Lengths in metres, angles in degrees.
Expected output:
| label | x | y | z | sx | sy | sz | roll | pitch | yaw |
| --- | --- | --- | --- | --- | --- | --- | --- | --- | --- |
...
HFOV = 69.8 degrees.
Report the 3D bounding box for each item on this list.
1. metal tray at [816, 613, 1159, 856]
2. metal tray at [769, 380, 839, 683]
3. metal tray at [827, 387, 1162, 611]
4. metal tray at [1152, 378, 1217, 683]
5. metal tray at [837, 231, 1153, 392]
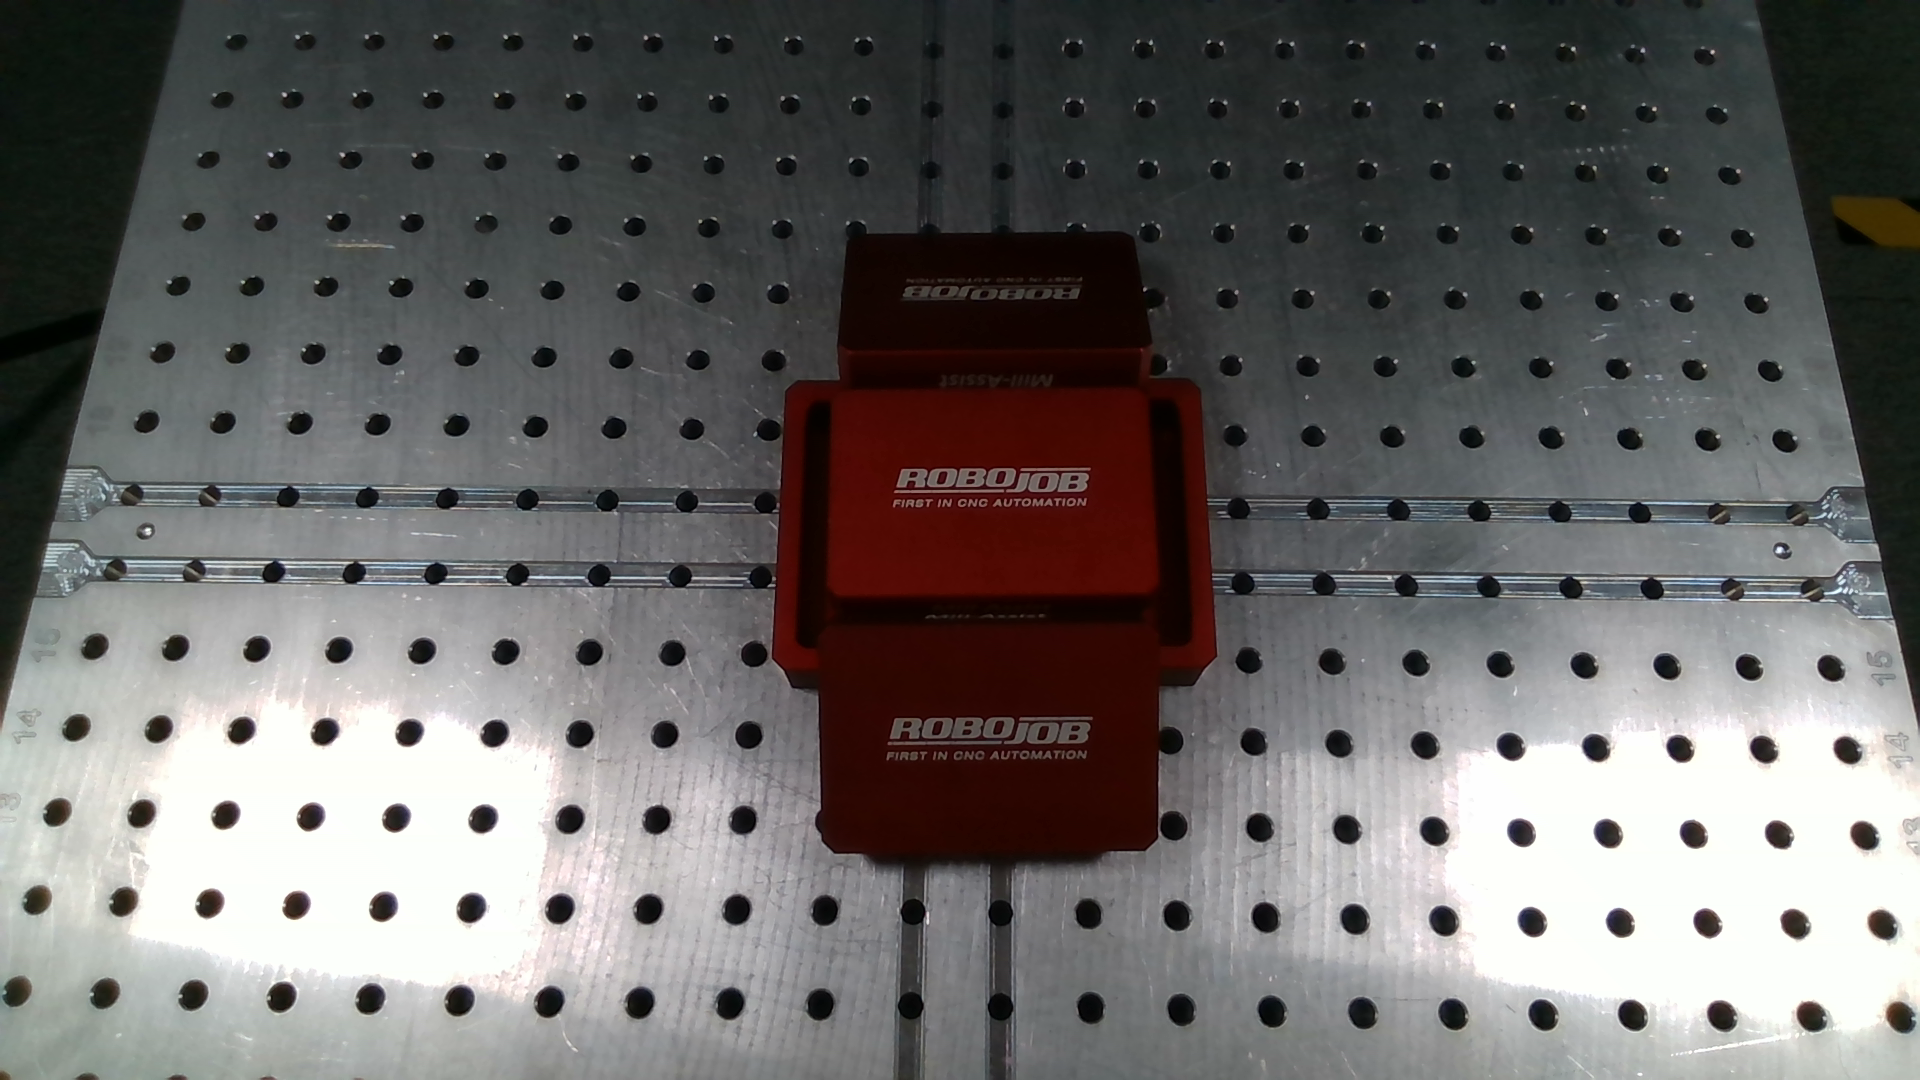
| label | x | y | z | sx | sy | sz | roll | pitch | yaw |
| --- | --- | --- | --- | --- | --- | --- | --- | --- | --- |
| metal tray | 0.011 | 0.075 | 0.541 | 0.130 | 0.030 | 0.090 | -1 | 98 | 0 |
| metal tray | -0.032 | -0.004 | 0.590 | 0.090 | 0.030 | 0.130 | 0 | 70 | 0 |
| metal tray | 0.013 | -0.015 | 0.561 | 0.130 | 0.030 | 0.090 | -1 | 70 | 0 |
| metal tray | 0.059 | -0.005 | 0.589 | 0.090 | 0.030 | 0.130 | 0 | 70 | 0 |
| metal tray | 0.014 | -0.099 | 0.604 | 0.130 | 0.030 | 0.090 | -1 | 44 | 0 |
